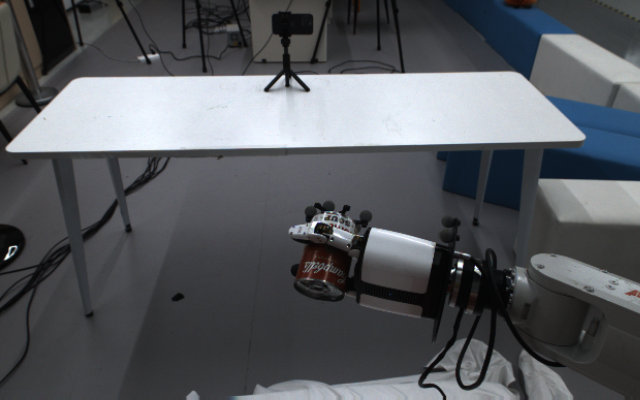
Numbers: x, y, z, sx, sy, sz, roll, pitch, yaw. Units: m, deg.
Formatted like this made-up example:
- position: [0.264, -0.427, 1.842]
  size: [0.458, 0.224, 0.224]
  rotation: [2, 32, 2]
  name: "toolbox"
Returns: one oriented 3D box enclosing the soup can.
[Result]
- position: [0.011, 0.074, 0.639]
  size: [0.067, 0.067, 0.101]
  rotation: [9, 58, 10]
  name: "soup can"
